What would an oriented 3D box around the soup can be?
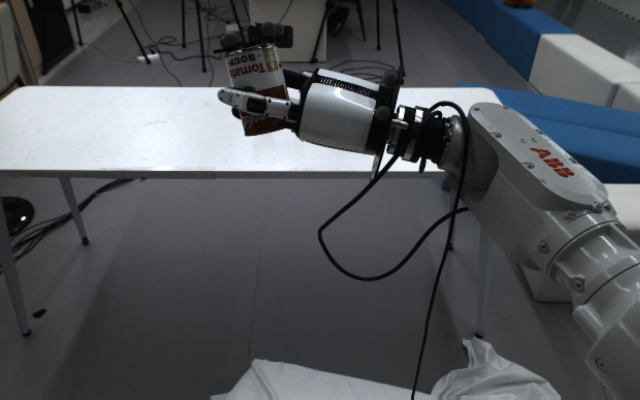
[{"bbox_3d":[-0.074,-0.138,0.610,0.067,0.101,0.067,-12,17,4],"label":"soup can"}]
